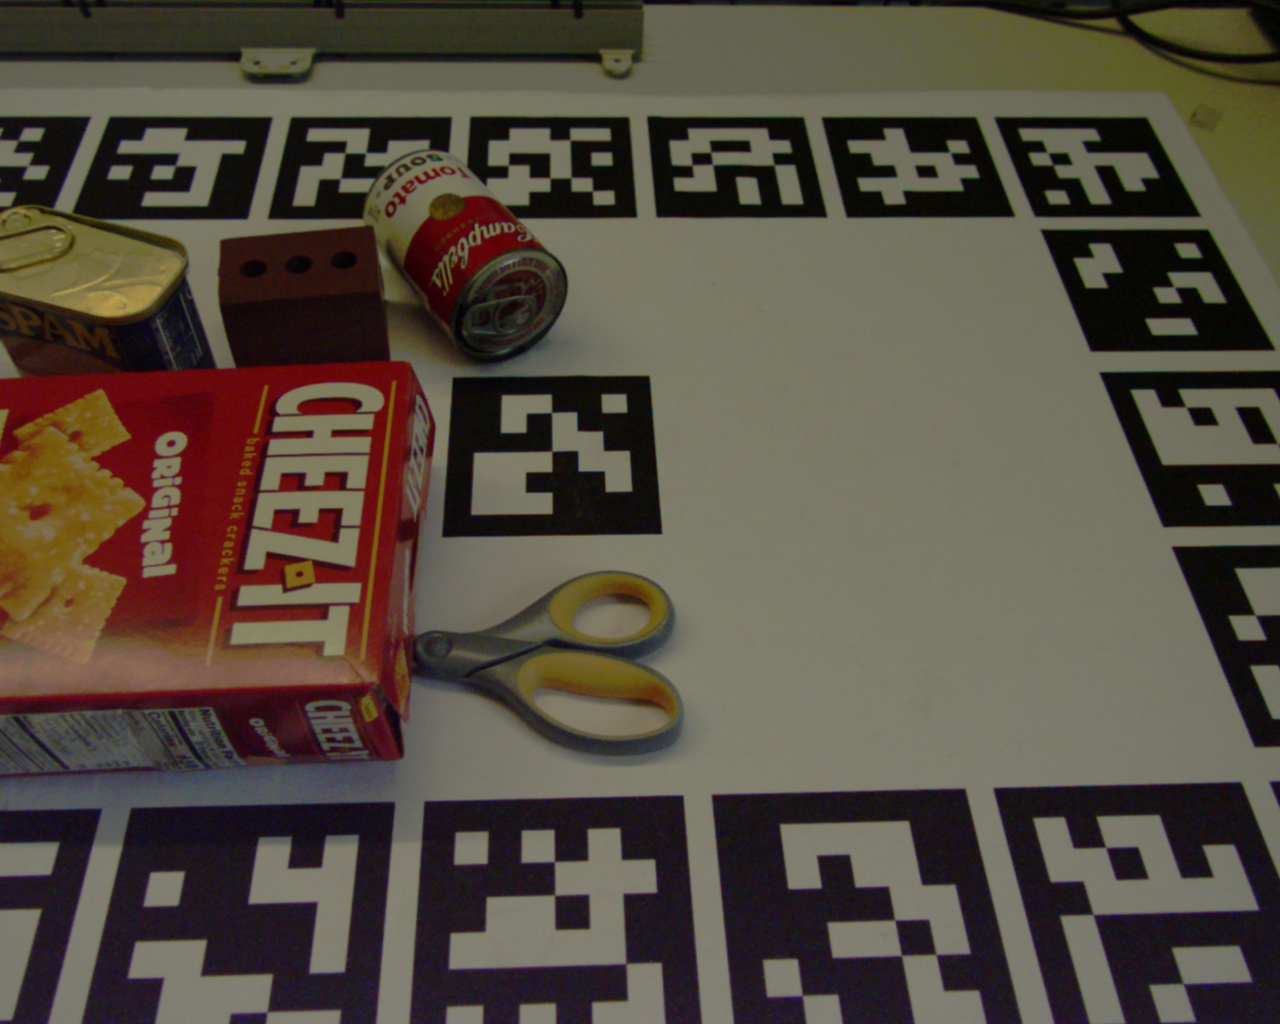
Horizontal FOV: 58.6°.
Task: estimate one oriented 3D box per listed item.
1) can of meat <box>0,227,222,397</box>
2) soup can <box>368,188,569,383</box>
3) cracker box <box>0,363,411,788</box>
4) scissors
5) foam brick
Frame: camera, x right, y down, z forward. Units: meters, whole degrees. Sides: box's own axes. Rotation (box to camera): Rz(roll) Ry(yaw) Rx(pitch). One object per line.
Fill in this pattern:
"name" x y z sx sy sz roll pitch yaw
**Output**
"can of meat" -0.270 -0.088 0.576 0.102 0.083 0.058 11 56 5
"soup can" -0.097 -0.127 0.633 0.067 0.067 0.103 -33 57 -23
"cracker box" -0.211 0.023 0.491 0.213 0.071 0.165 -7 54 -3
"scissors" -0.096 0.069 0.501 0.202 0.016 0.088 -5 56 -5
"foam brick" -0.177 -0.104 0.614 0.078 0.051 0.053 -9 56 -9
